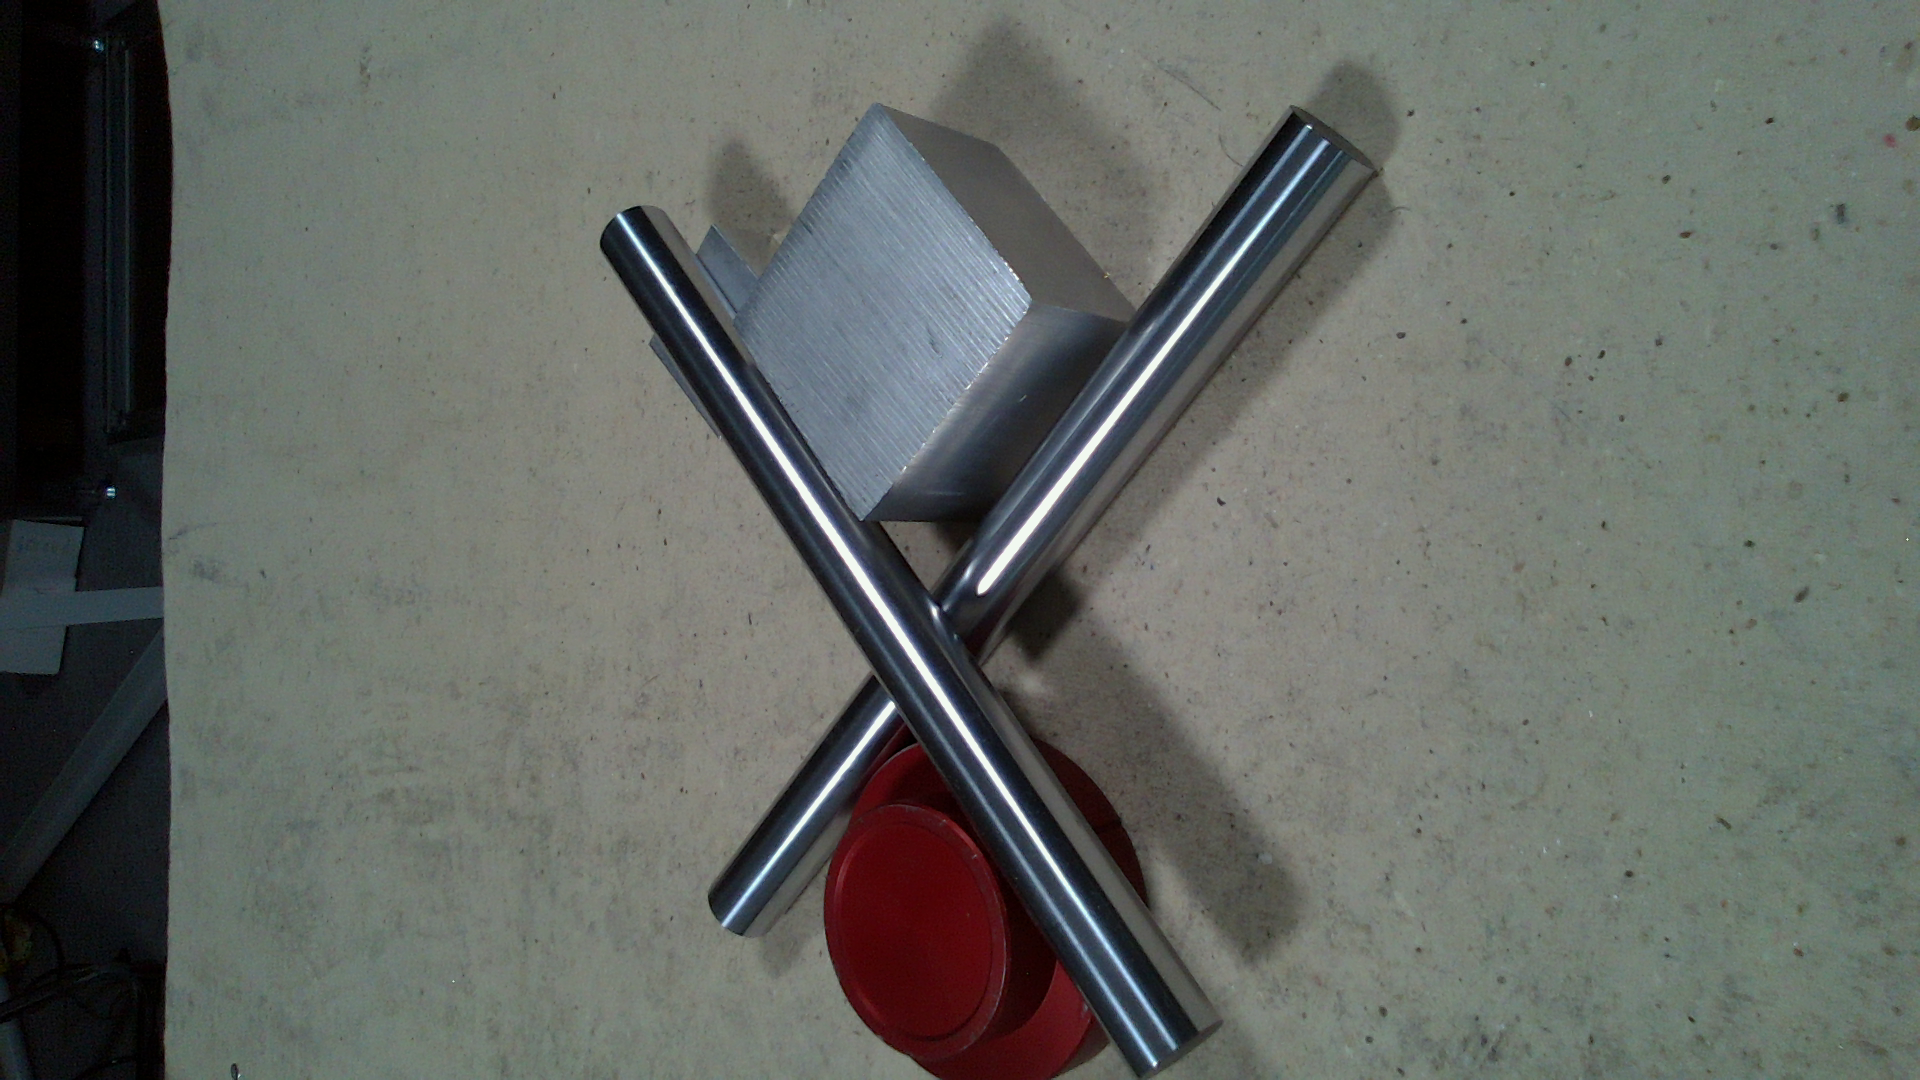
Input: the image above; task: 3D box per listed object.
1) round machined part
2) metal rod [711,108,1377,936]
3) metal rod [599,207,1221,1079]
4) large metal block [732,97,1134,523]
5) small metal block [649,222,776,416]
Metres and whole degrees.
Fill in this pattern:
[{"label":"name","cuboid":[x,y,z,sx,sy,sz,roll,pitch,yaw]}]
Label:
[{"label":"round machined part","cuboid":[0.000,0.104,0.383,0.098,0.042,0.098,0,90,40]},{"label":"metal rod","cuboid":[0.008,0.013,0.390,0.025,0.025,0.299,52,120,28]},{"label":"metal rod","cuboid":[-0.028,0.010,0.385,0.025,0.025,0.299,-51,60,28]},{"label":"large metal block","cuboid":[-0.008,-0.061,0.387,0.080,0.050,0.080,-50,61,29]},{"label":"small metal block","cuboid":[-0.071,-0.068,0.456,0.050,0.025,0.050,50,120,28]}]
